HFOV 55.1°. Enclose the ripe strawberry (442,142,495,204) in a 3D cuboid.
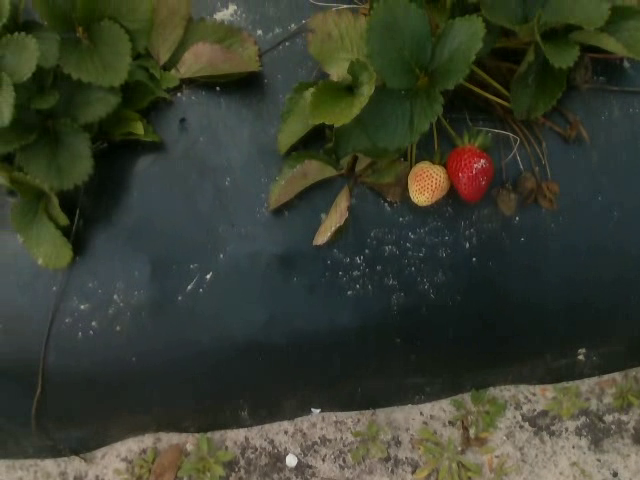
[{"bbox_3d":[0.097,-0.043,0.397,0.034,0.042,0.033,21,-35,-8],"label":"ripe strawberry"}]
